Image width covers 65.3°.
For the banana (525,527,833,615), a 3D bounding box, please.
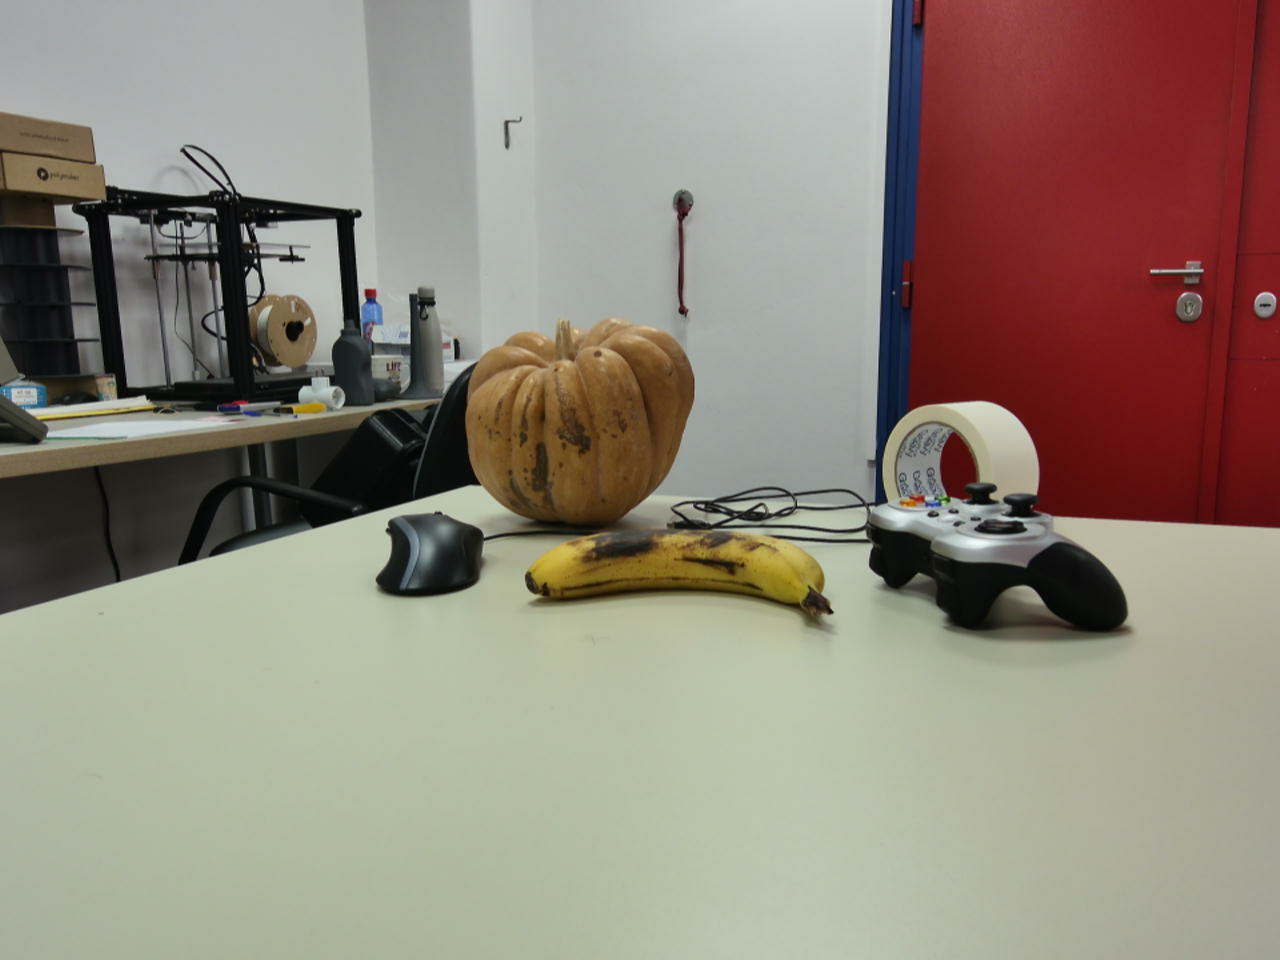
[{"bbox_3d":[0.031,0.055,0.609,0.187,0.039,0.094,2,7,21],"label":"banana"}]
